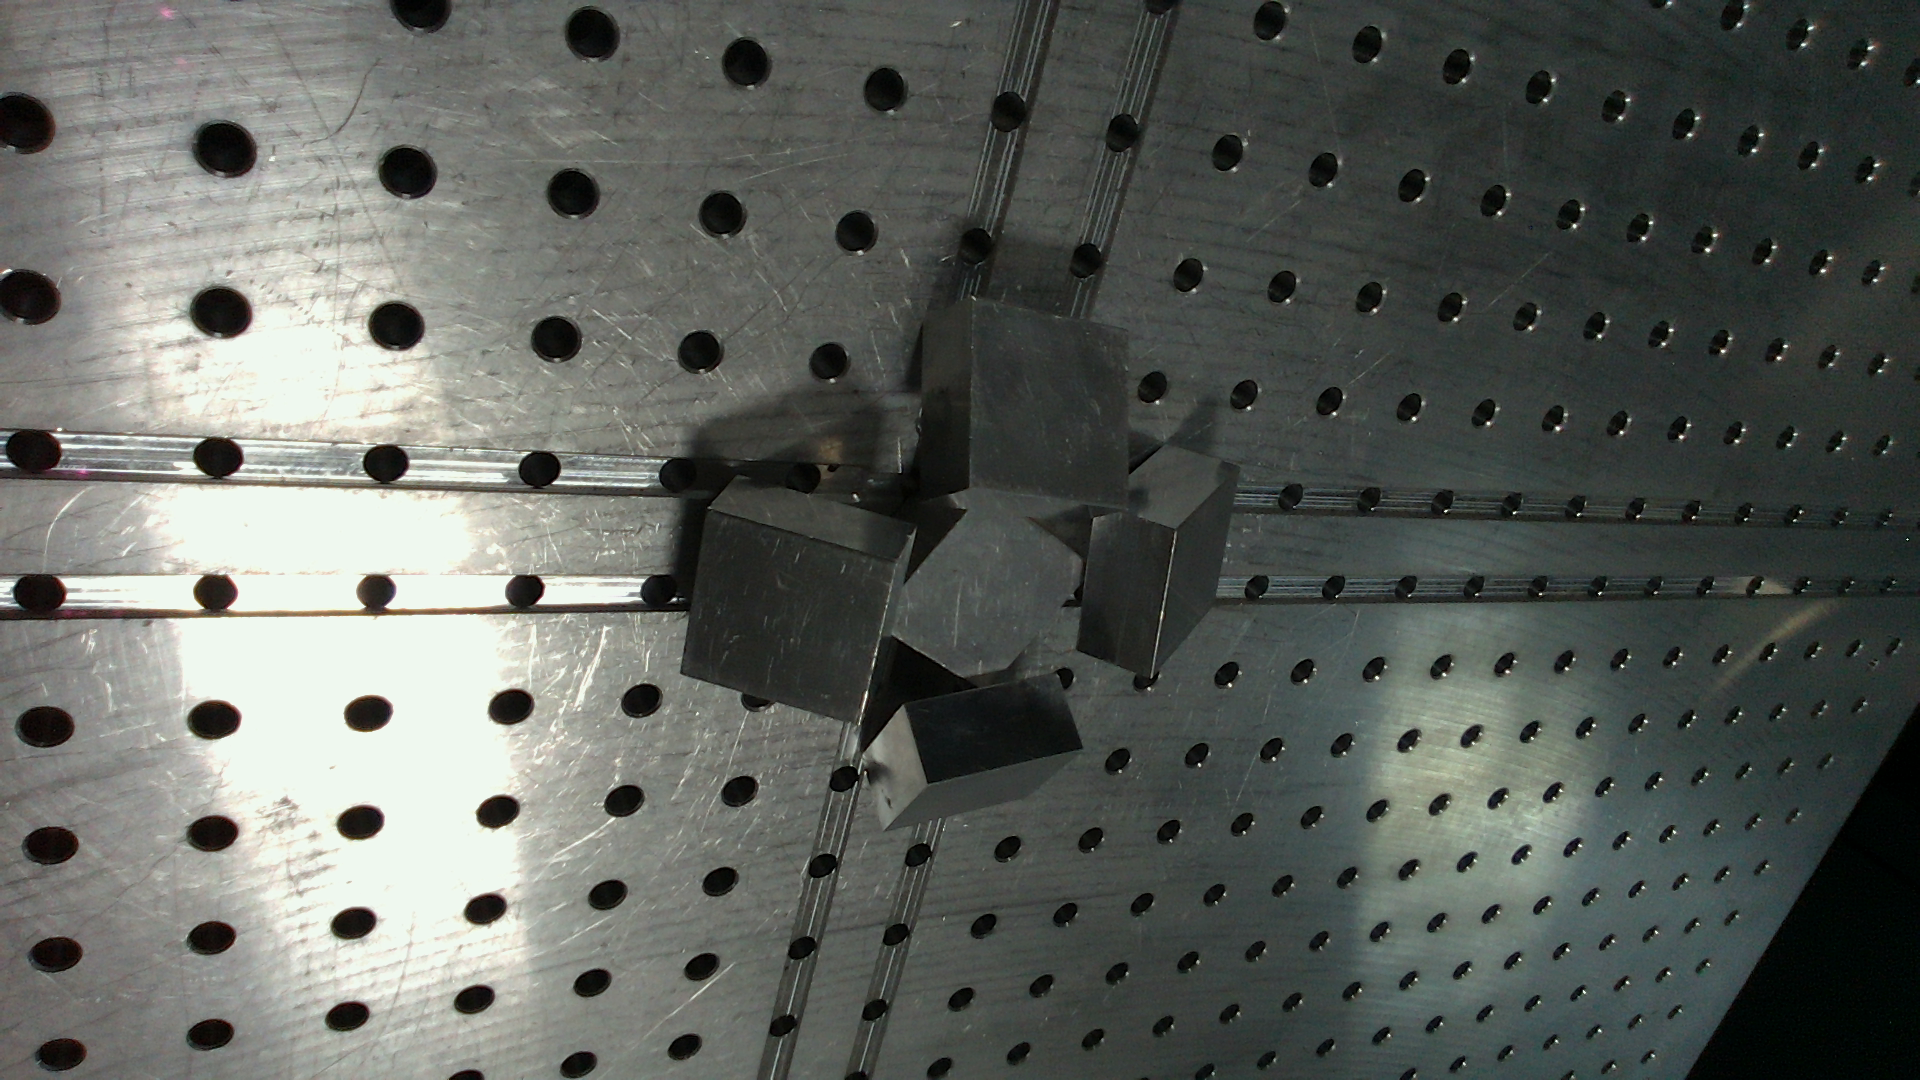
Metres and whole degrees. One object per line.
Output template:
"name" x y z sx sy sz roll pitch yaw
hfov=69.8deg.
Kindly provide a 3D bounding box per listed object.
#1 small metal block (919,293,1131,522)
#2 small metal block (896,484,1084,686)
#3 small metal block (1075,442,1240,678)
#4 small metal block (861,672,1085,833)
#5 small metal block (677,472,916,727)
"small metal block" 0.018 -0.033 0.365 0.050 0.025 0.050 6 79 -31
"small metal block" 0.002 0.009 0.399 0.050 0.025 0.050 -49 129 6
"small metal block" 0.059 0.005 0.412 0.050 0.025 0.050 -38 140 -50
"small metal block" 0.003 0.065 0.417 0.050 0.025 0.050 -9 158 -24
"small metal block" -0.043 0.015 0.363 0.050 0.025 0.050 16 115 3
